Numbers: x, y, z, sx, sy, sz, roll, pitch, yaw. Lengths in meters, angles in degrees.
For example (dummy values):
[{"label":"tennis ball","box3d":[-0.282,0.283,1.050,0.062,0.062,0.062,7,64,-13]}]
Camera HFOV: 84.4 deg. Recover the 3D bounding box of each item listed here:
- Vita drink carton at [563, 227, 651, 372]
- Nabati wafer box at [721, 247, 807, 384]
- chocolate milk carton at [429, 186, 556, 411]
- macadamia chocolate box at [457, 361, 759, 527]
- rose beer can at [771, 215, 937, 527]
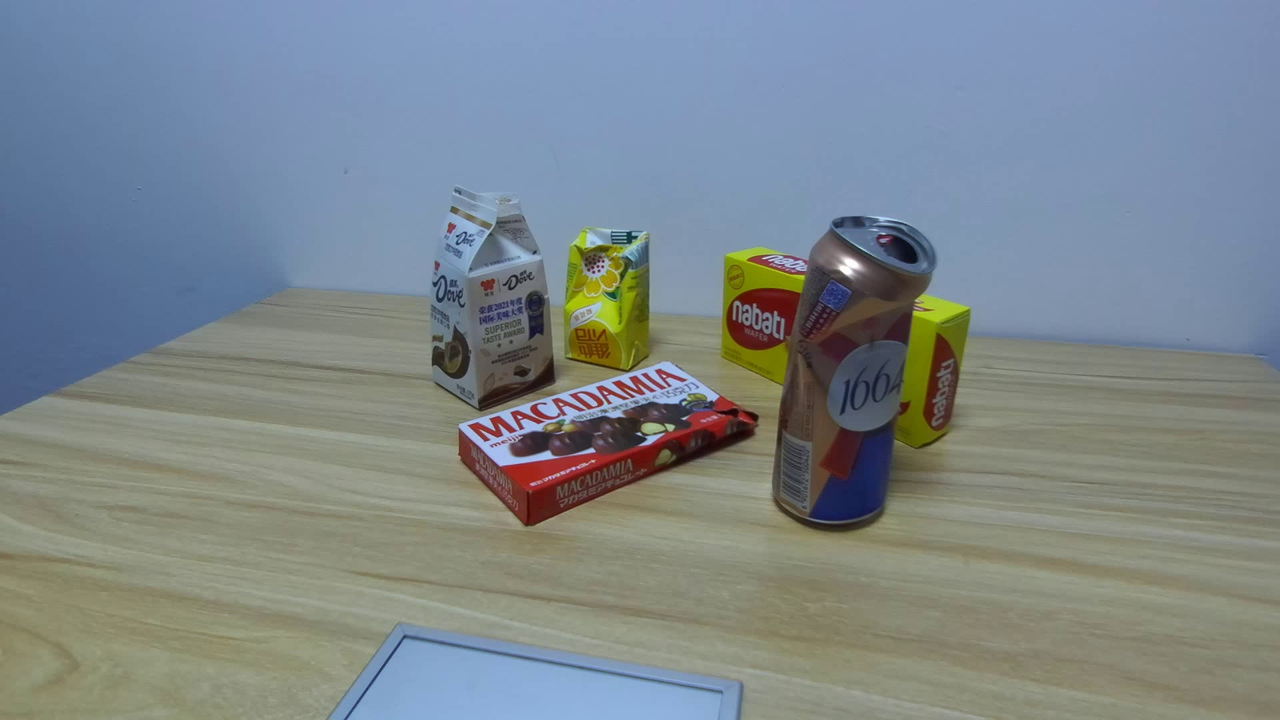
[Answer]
[{"label":"Vita drink carton","box3d":[-0.030,-0.053,0.596,0.071,0.110,0.046,10,23,27]},{"label":"Nabati wafer box","box3d":[0.145,-0.018,0.540,0.042,0.093,0.202,-16,27,-32]},{"label":"chocolate milk carton","box3d":[-0.120,-0.053,0.543,0.073,0.155,0.084,-21,32,-38]},{"label":"macadamia chocolate box","box3d":[-0.016,0.047,0.477,0.187,0.027,0.102,-18,32,-34]},{"label":"rose beer can","box3d":[0.112,0.009,0.385,0.070,0.168,0.069,6,27,5]}]
